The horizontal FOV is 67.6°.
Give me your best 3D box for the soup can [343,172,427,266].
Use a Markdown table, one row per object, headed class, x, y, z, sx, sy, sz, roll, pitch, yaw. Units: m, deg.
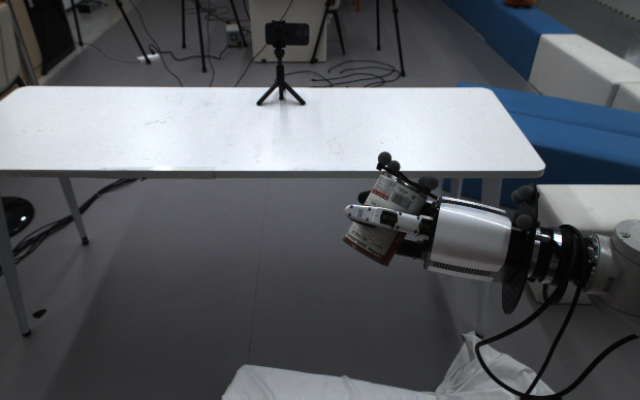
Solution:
| class | x | y | z | sx | sy | sz | roll | pitch | yaw |
| --- | --- | --- | --- | --- | --- | --- | --- | --- | --- |
| soup can | 0.084 | 0.024 | 0.618 | 0.067 | 0.101 | 0.067 | 30 | 2 | -1 |
